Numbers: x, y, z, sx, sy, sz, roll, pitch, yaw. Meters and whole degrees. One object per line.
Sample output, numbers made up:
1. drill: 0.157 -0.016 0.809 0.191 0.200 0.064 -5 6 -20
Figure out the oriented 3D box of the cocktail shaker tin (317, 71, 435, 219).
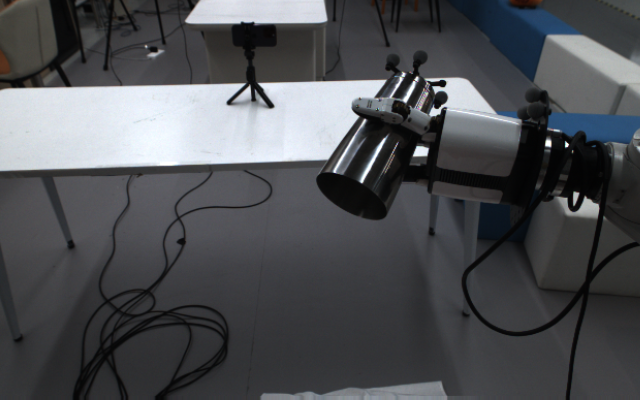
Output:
1. cocktail shaker tin: 0.078 -0.075 0.583 0.093 0.093 0.170 20 67 24
